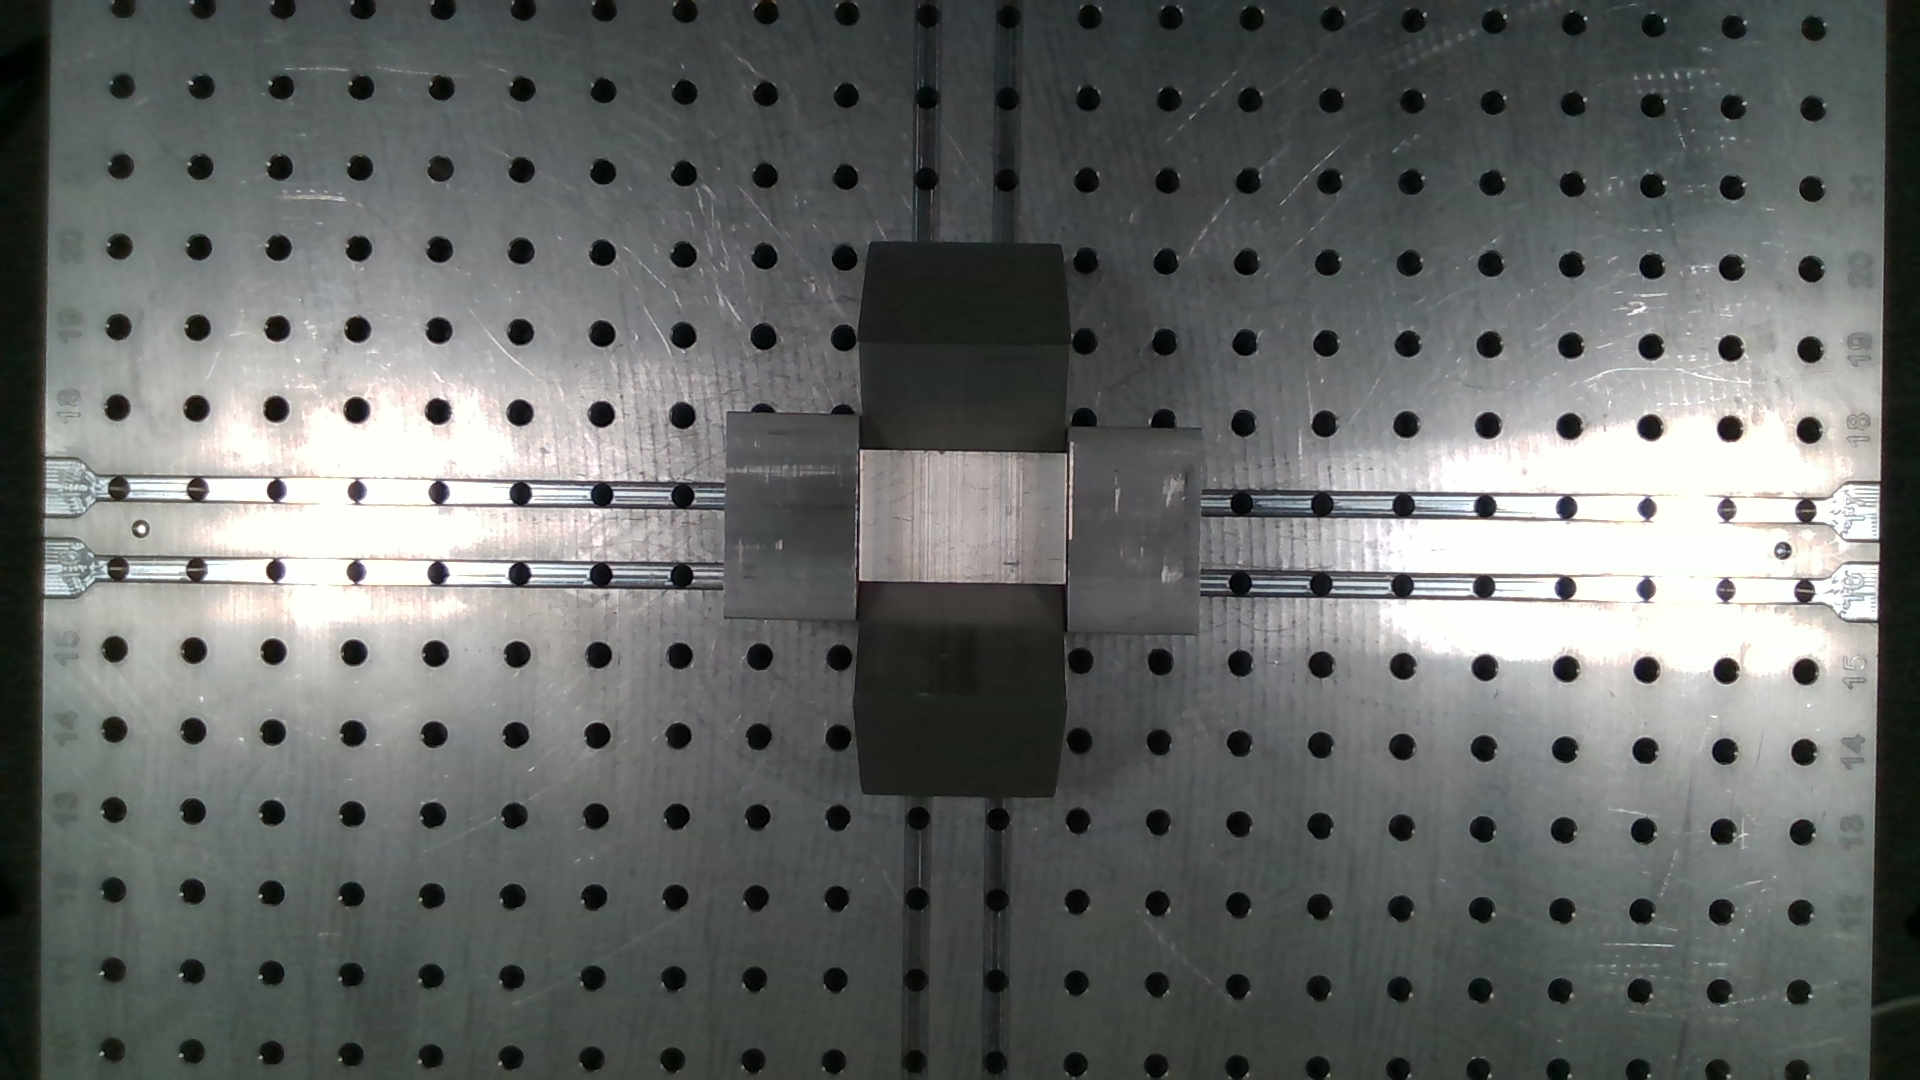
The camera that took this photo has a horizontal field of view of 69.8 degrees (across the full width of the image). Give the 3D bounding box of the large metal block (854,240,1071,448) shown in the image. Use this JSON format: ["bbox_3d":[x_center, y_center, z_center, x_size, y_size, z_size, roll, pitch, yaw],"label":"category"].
[{"bbox_3d":[0.002,-0.079,0.555,0.080,0.080,0.050,1,130,1],"label":"large metal block"}]

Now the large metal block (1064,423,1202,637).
[{"bbox_3d":[0.066,-0.004,0.561,0.050,0.080,0.080,1,90,0],"label":"large metal block"}]

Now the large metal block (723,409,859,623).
[{"bbox_3d":[-0.064,-0.009,0.561,0.050,0.080,0.080,1,90,0],"label":"large metal block"}]

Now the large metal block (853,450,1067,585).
[{"bbox_3d":[0.000,-0.009,0.561,0.080,0.080,0.050,1,90,0],"label":"large metal block"}]

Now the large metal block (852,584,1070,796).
[{"bbox_3d":[0.000,0.062,0.554,0.080,0.080,0.050,1,53,-1],"label":"large metal block"}]
